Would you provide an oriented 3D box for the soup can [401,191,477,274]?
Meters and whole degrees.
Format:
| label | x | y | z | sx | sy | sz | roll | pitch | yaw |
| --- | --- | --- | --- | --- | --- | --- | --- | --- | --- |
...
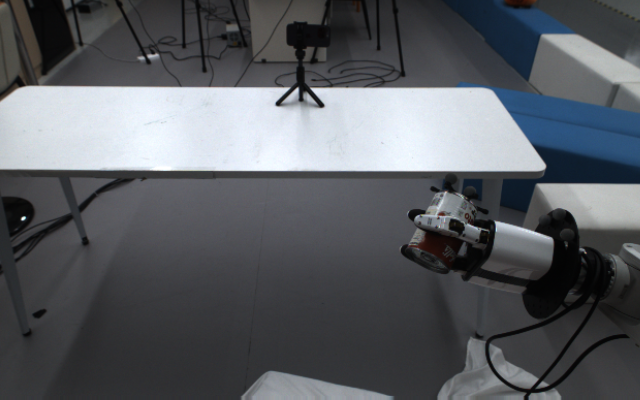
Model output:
| label | x | y | z | sx | sy | sz | roll | pitch | yaw |
| --- | --- | --- | --- | --- | --- | --- | --- | --- | --- |
| soup can | 0.176 | 0.044 | 0.691 | 0.067 | 0.067 | 0.101 | 22 | 71 | 26 |
